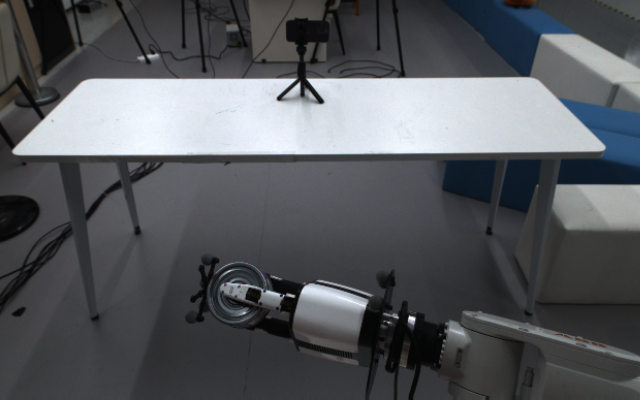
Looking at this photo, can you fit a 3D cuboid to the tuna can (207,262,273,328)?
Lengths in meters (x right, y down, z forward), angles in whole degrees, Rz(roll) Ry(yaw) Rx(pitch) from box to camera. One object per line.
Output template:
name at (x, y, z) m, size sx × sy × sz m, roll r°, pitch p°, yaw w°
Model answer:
tuna can at (-0.104, 0.126, 0.647) m, size 0.085 × 0.034 × 0.085 m, roll -2°, pitch 69°, yaw 6°
